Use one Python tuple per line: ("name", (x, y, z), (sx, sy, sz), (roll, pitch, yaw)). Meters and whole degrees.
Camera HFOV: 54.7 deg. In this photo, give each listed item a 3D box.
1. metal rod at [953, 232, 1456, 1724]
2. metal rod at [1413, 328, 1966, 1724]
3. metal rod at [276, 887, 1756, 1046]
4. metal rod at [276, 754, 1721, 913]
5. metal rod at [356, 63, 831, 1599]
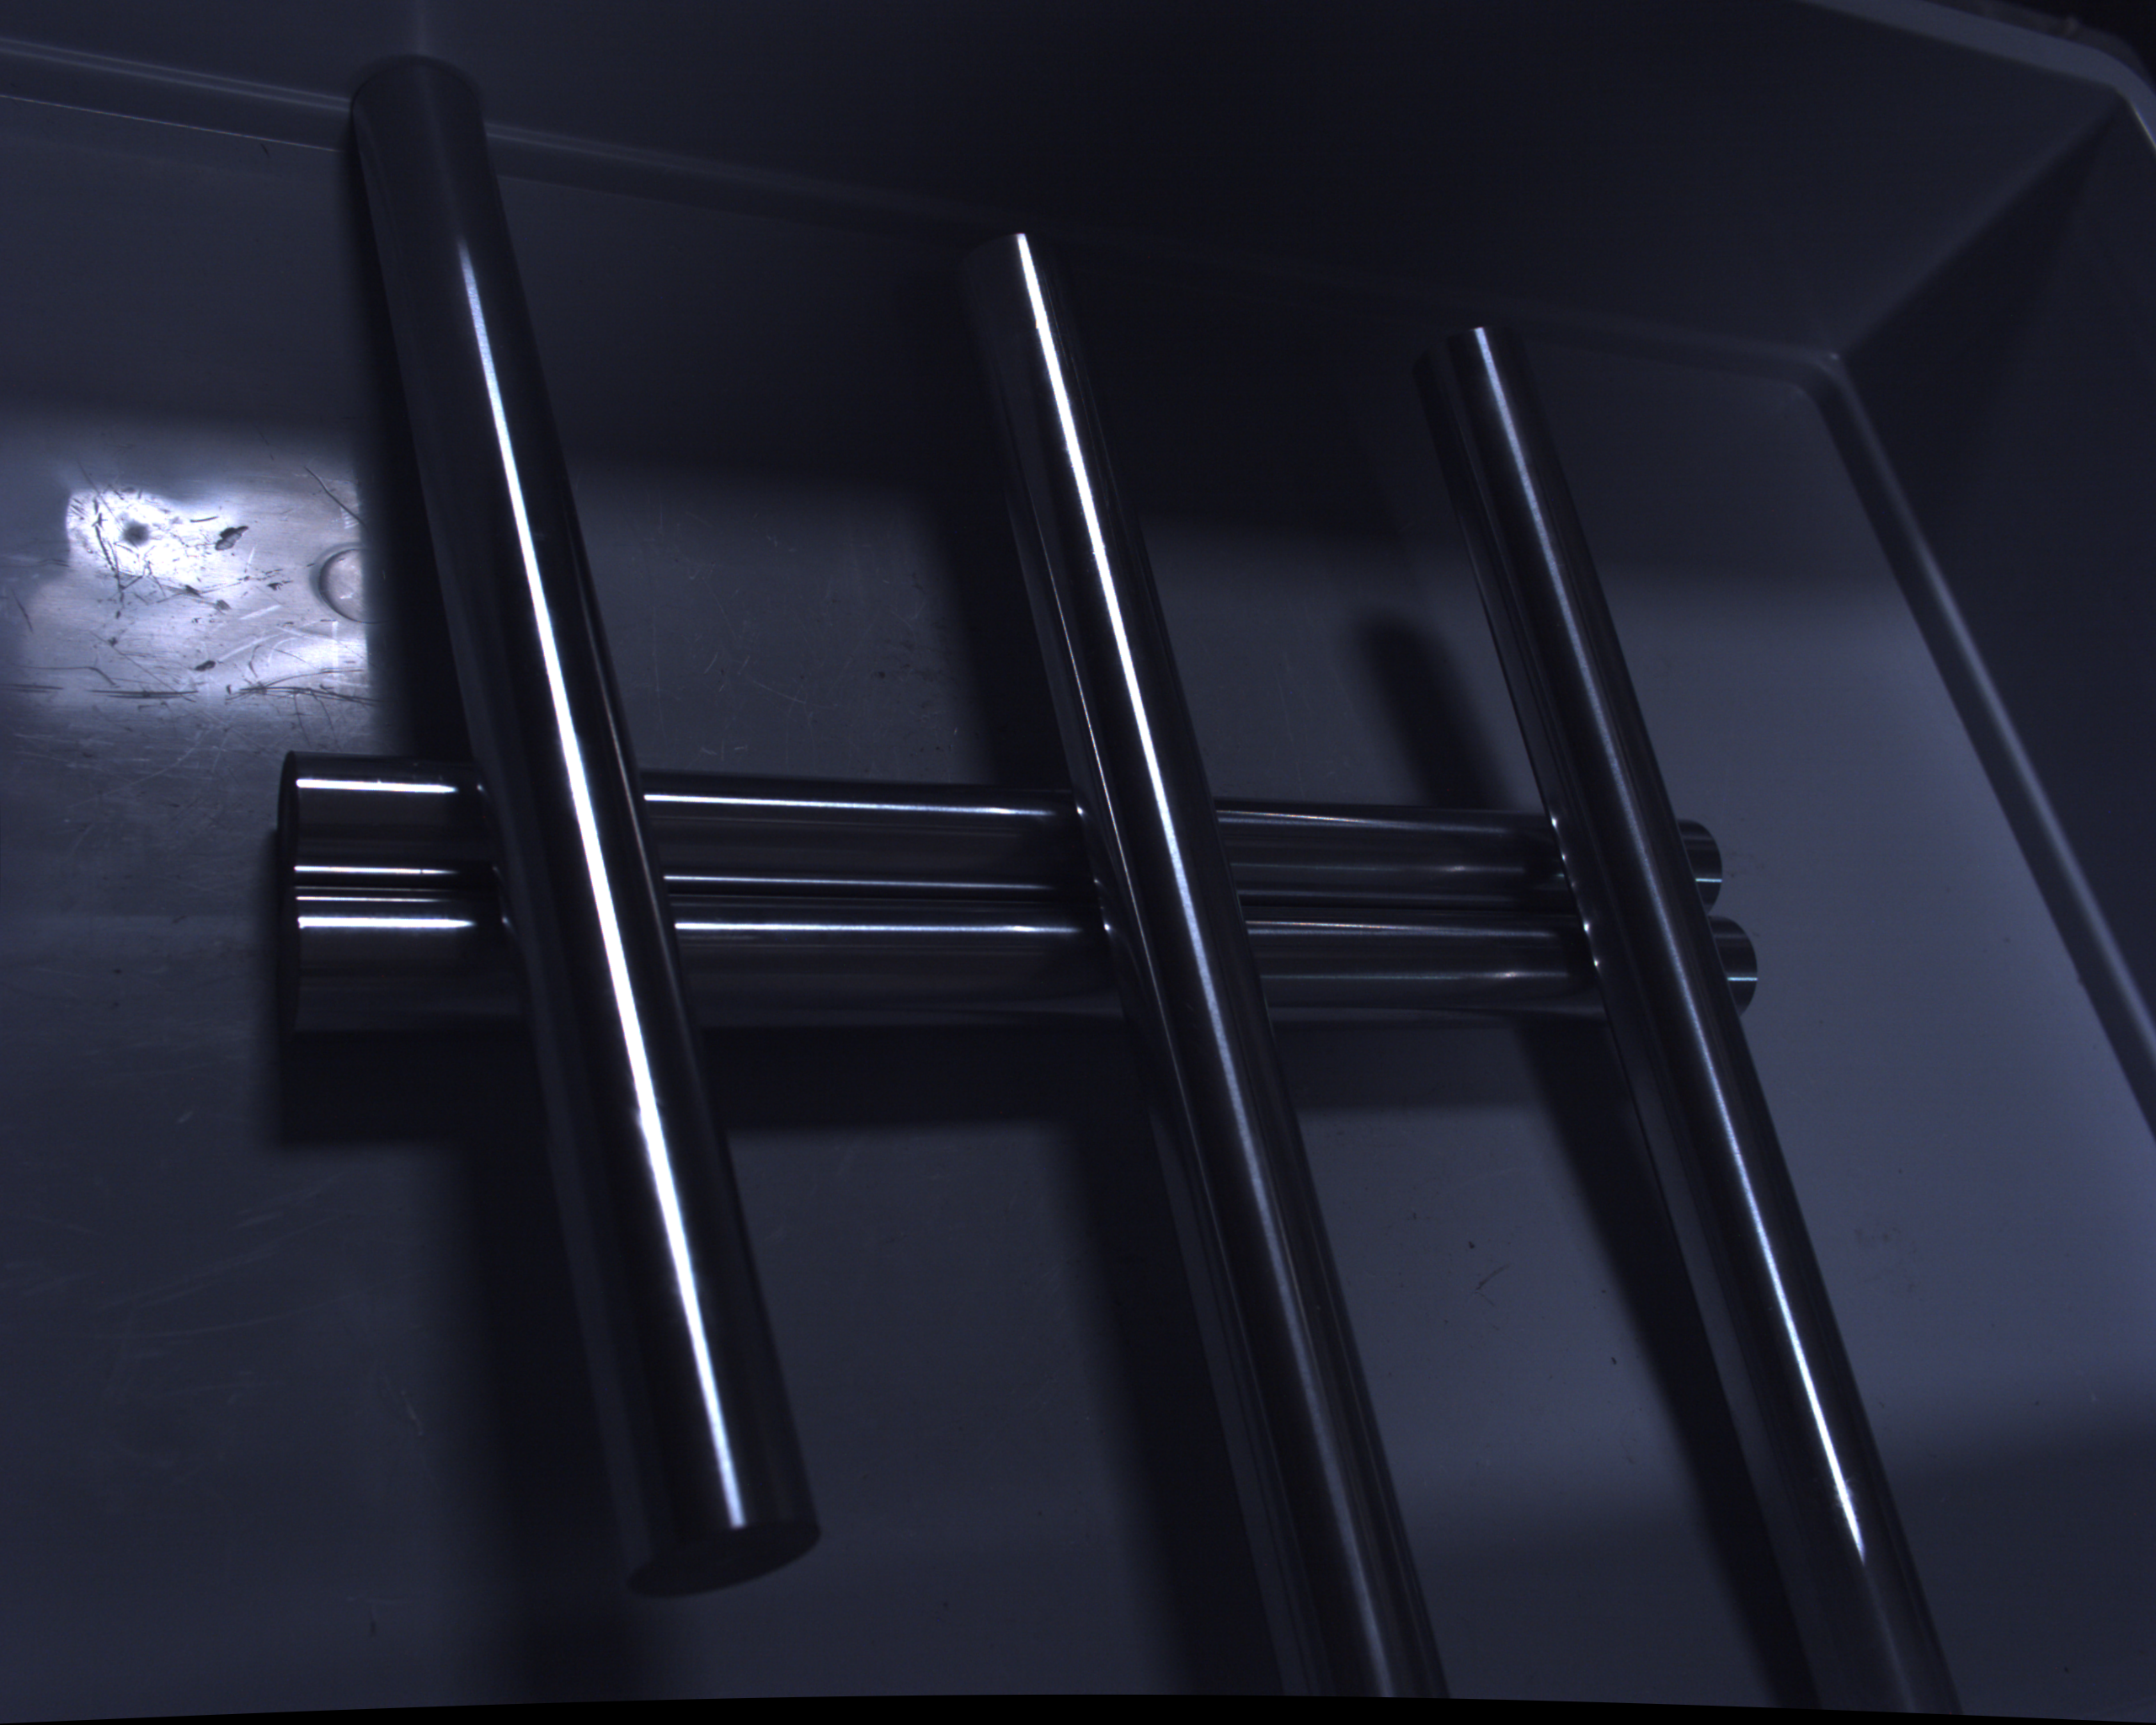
("metal rod", (0.016, 0.007, 0.378), (0.025, 0.025, 0.299), (1, 61, -28))
("metal rod", (0.120, 0.028, 0.425), (0.025, 0.025, 0.299), (-4, 72, -30))
("metal rod", (0.009, 0.020, 0.398), (0.303, 0.025, 0.025), (2, 61, -28))
("metal rod", (0.005, -0.001, 0.409), (0.303, 0.025, 0.025), (2, 61, -28))
("metal rod", (-0.088, -0.031, 0.345), (0.025, 0.025, 0.299), (-1, 54, -29))
